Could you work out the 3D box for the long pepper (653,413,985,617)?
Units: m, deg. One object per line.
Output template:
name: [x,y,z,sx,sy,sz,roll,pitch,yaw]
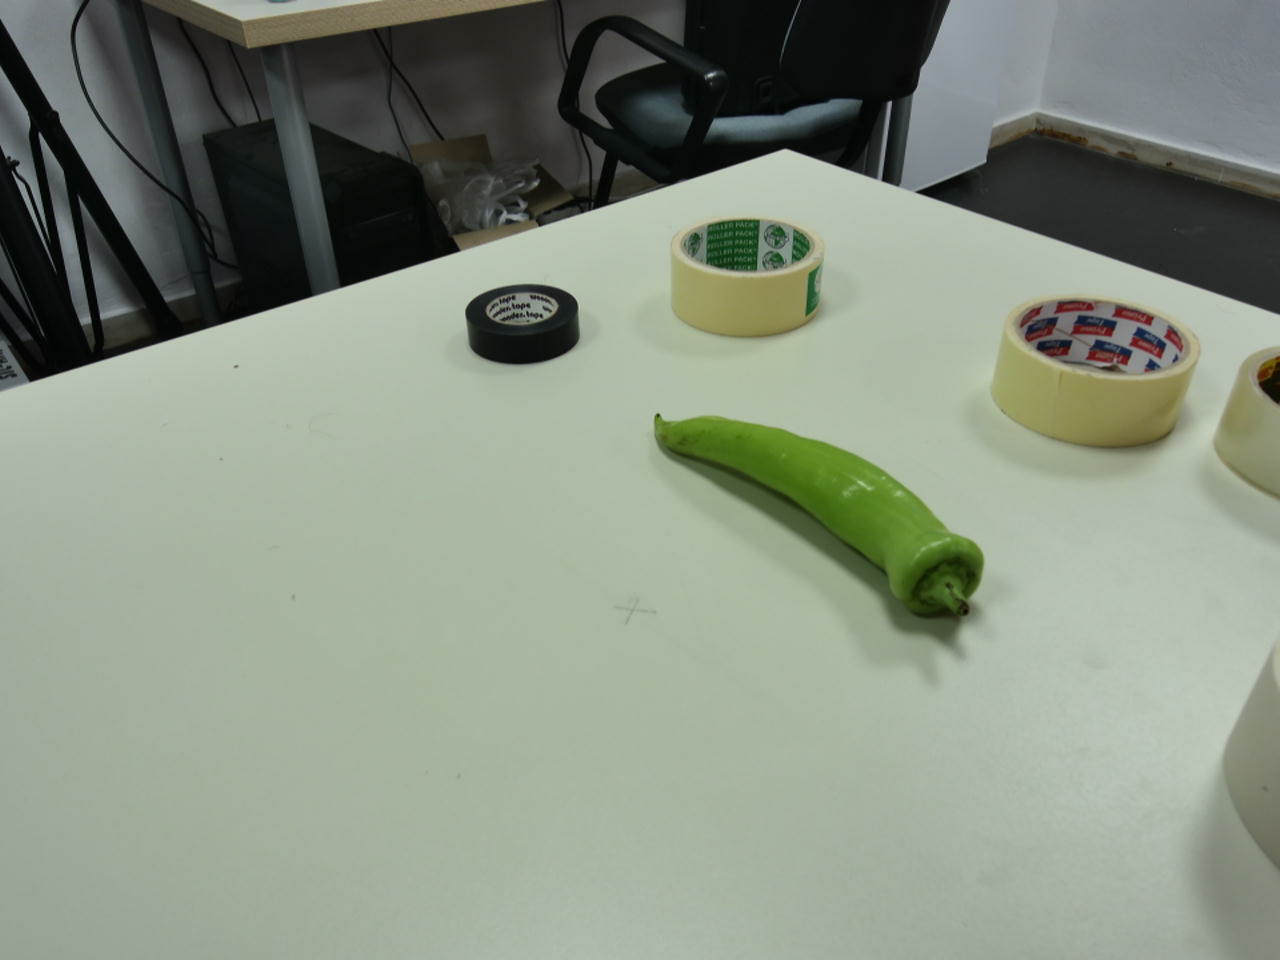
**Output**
long pepper: [0.074,0.001,0.438,0.046,0.038,0.197,-22,40,-28]
